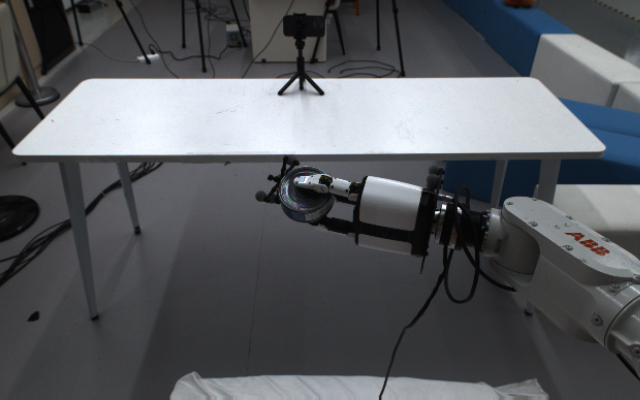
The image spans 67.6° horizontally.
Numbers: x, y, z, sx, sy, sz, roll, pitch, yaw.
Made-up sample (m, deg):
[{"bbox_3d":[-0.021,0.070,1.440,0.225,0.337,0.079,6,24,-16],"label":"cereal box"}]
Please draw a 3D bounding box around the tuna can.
[{"bbox_3d":[-0.018,-0.005,0.748,0.085,0.034,0.085,-1,62,1],"label":"tuna can"}]
